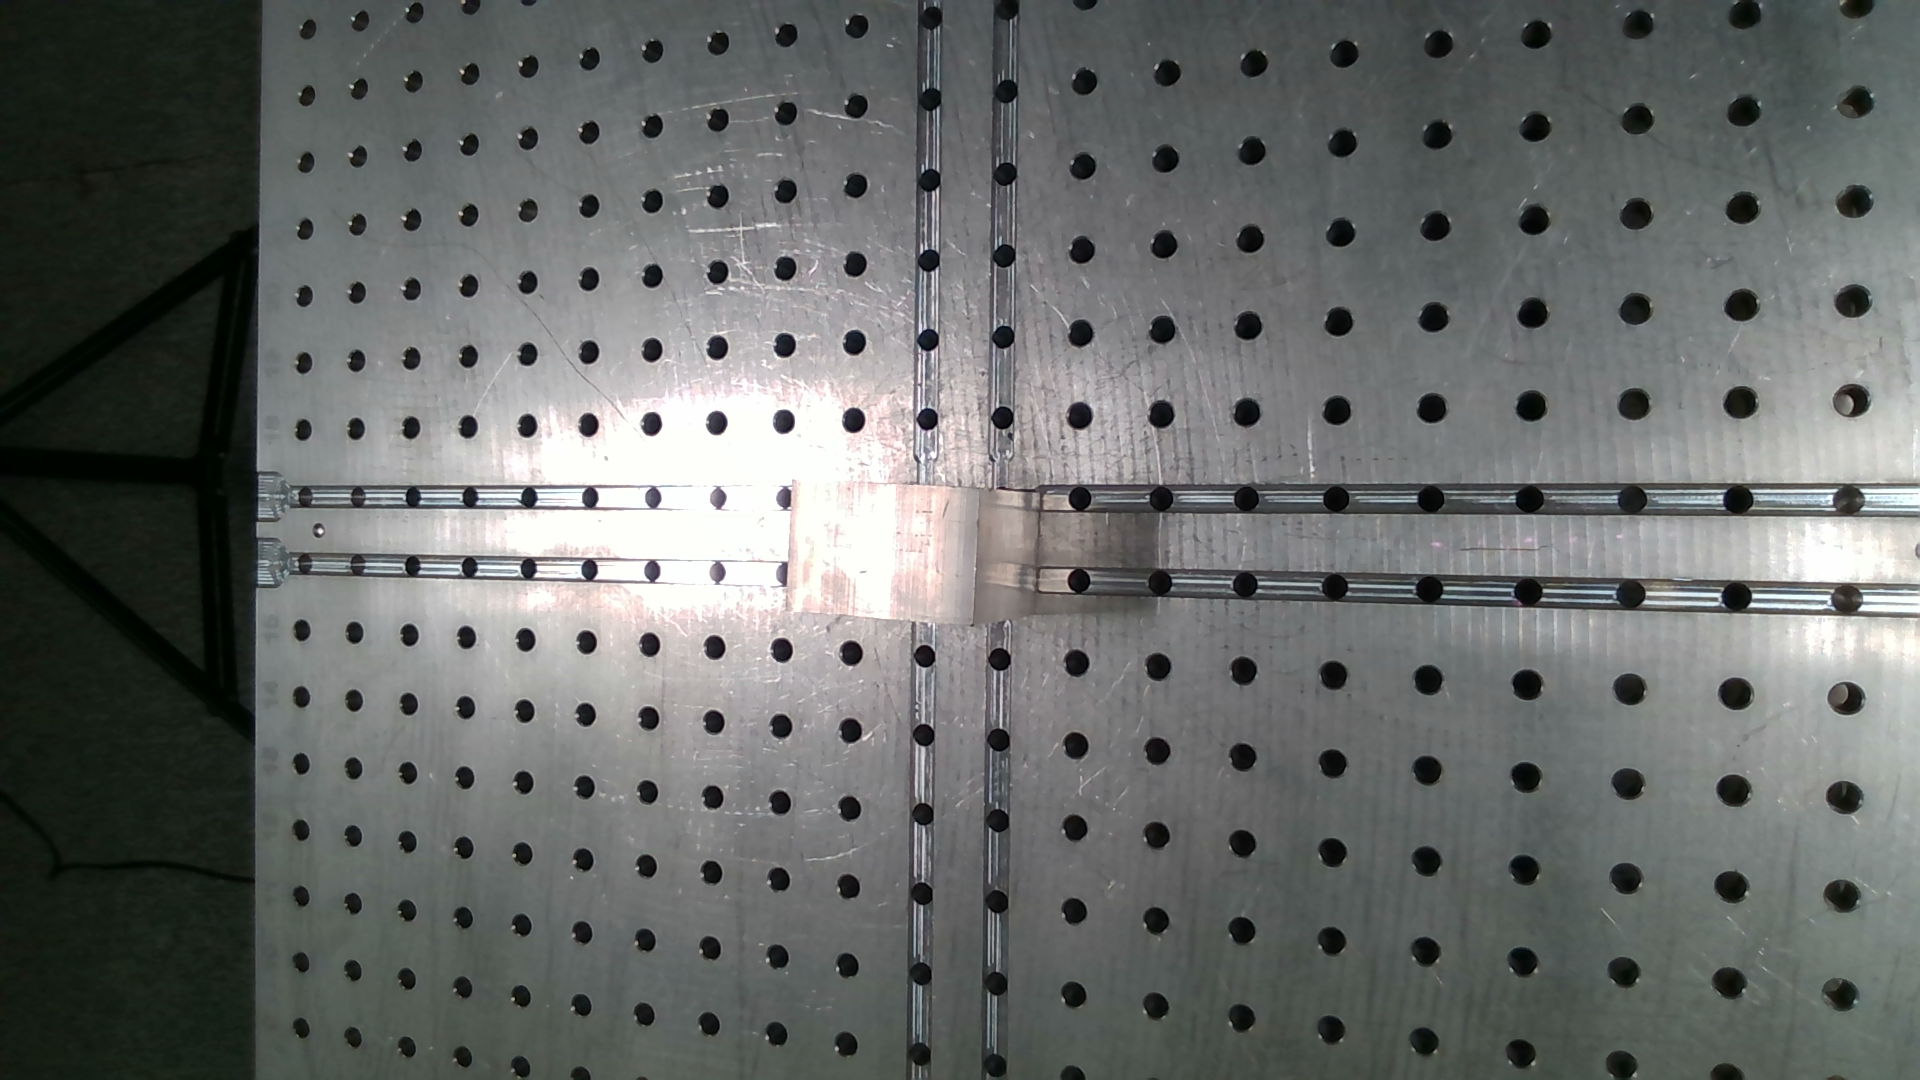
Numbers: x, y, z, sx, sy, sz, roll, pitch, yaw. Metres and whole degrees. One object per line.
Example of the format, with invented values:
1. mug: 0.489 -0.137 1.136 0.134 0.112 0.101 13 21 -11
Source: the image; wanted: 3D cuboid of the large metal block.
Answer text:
1. large metal block: -0.018 0.004 0.565 0.080 0.080 0.050 4 91 20
